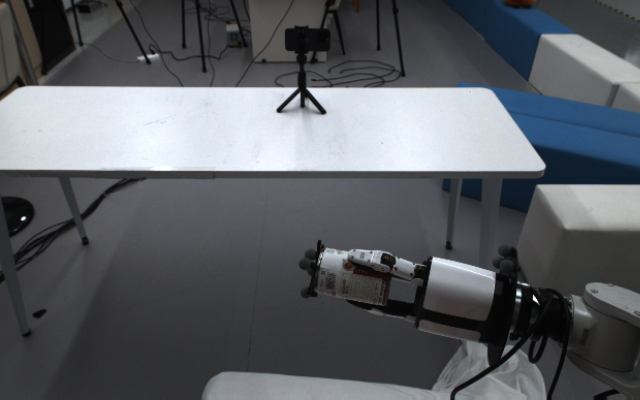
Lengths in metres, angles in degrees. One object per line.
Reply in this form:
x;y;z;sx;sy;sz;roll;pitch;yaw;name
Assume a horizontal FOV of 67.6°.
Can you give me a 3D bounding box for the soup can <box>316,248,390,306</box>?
0.052;0.108;0.680;0.101;0.067;0.067;9;35;9;soup can
